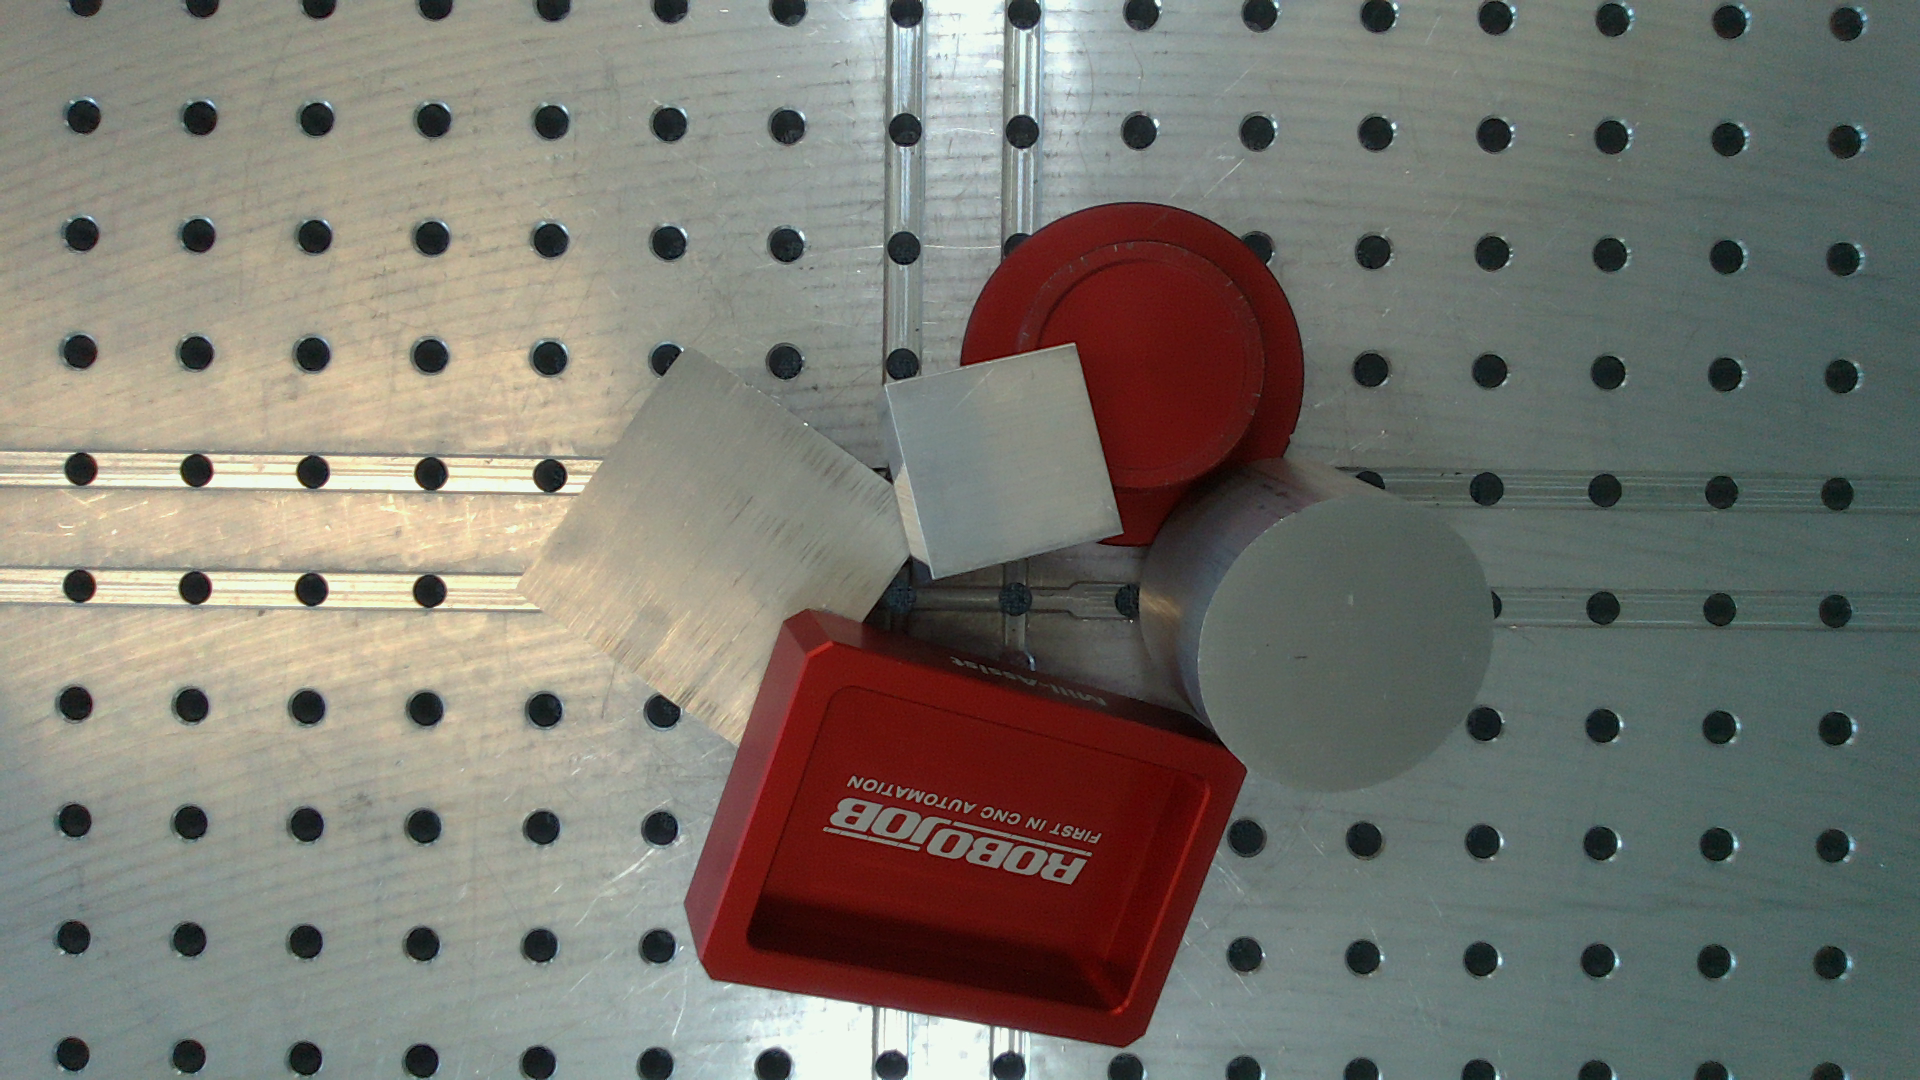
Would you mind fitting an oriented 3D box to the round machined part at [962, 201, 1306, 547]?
[{"bbox_3d":[0.049,-0.047,0.389,0.098,0.042,0.098,0,90,0],"label":"round machined part"}]

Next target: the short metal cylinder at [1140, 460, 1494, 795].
[{"bbox_3d":[0.095,0.022,0.374,0.080,0.050,0.080,-3,104,-10],"label":"short metal cylinder"}]

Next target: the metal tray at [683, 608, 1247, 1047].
[{"bbox_3d":[0.003,0.079,0.367,0.130,0.030,0.090,17,97,-22],"label":"metal tray"}]

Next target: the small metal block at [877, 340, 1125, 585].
[{"bbox_3d":[0.009,-0.019,0.351,0.050,0.025,0.050,-13,87,-11],"label":"small metal block"}]

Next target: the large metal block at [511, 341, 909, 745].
[{"bbox_3d":[-0.062,0.004,0.385,0.080,0.050,0.080,36,90,0],"label":"large metal block"}]
